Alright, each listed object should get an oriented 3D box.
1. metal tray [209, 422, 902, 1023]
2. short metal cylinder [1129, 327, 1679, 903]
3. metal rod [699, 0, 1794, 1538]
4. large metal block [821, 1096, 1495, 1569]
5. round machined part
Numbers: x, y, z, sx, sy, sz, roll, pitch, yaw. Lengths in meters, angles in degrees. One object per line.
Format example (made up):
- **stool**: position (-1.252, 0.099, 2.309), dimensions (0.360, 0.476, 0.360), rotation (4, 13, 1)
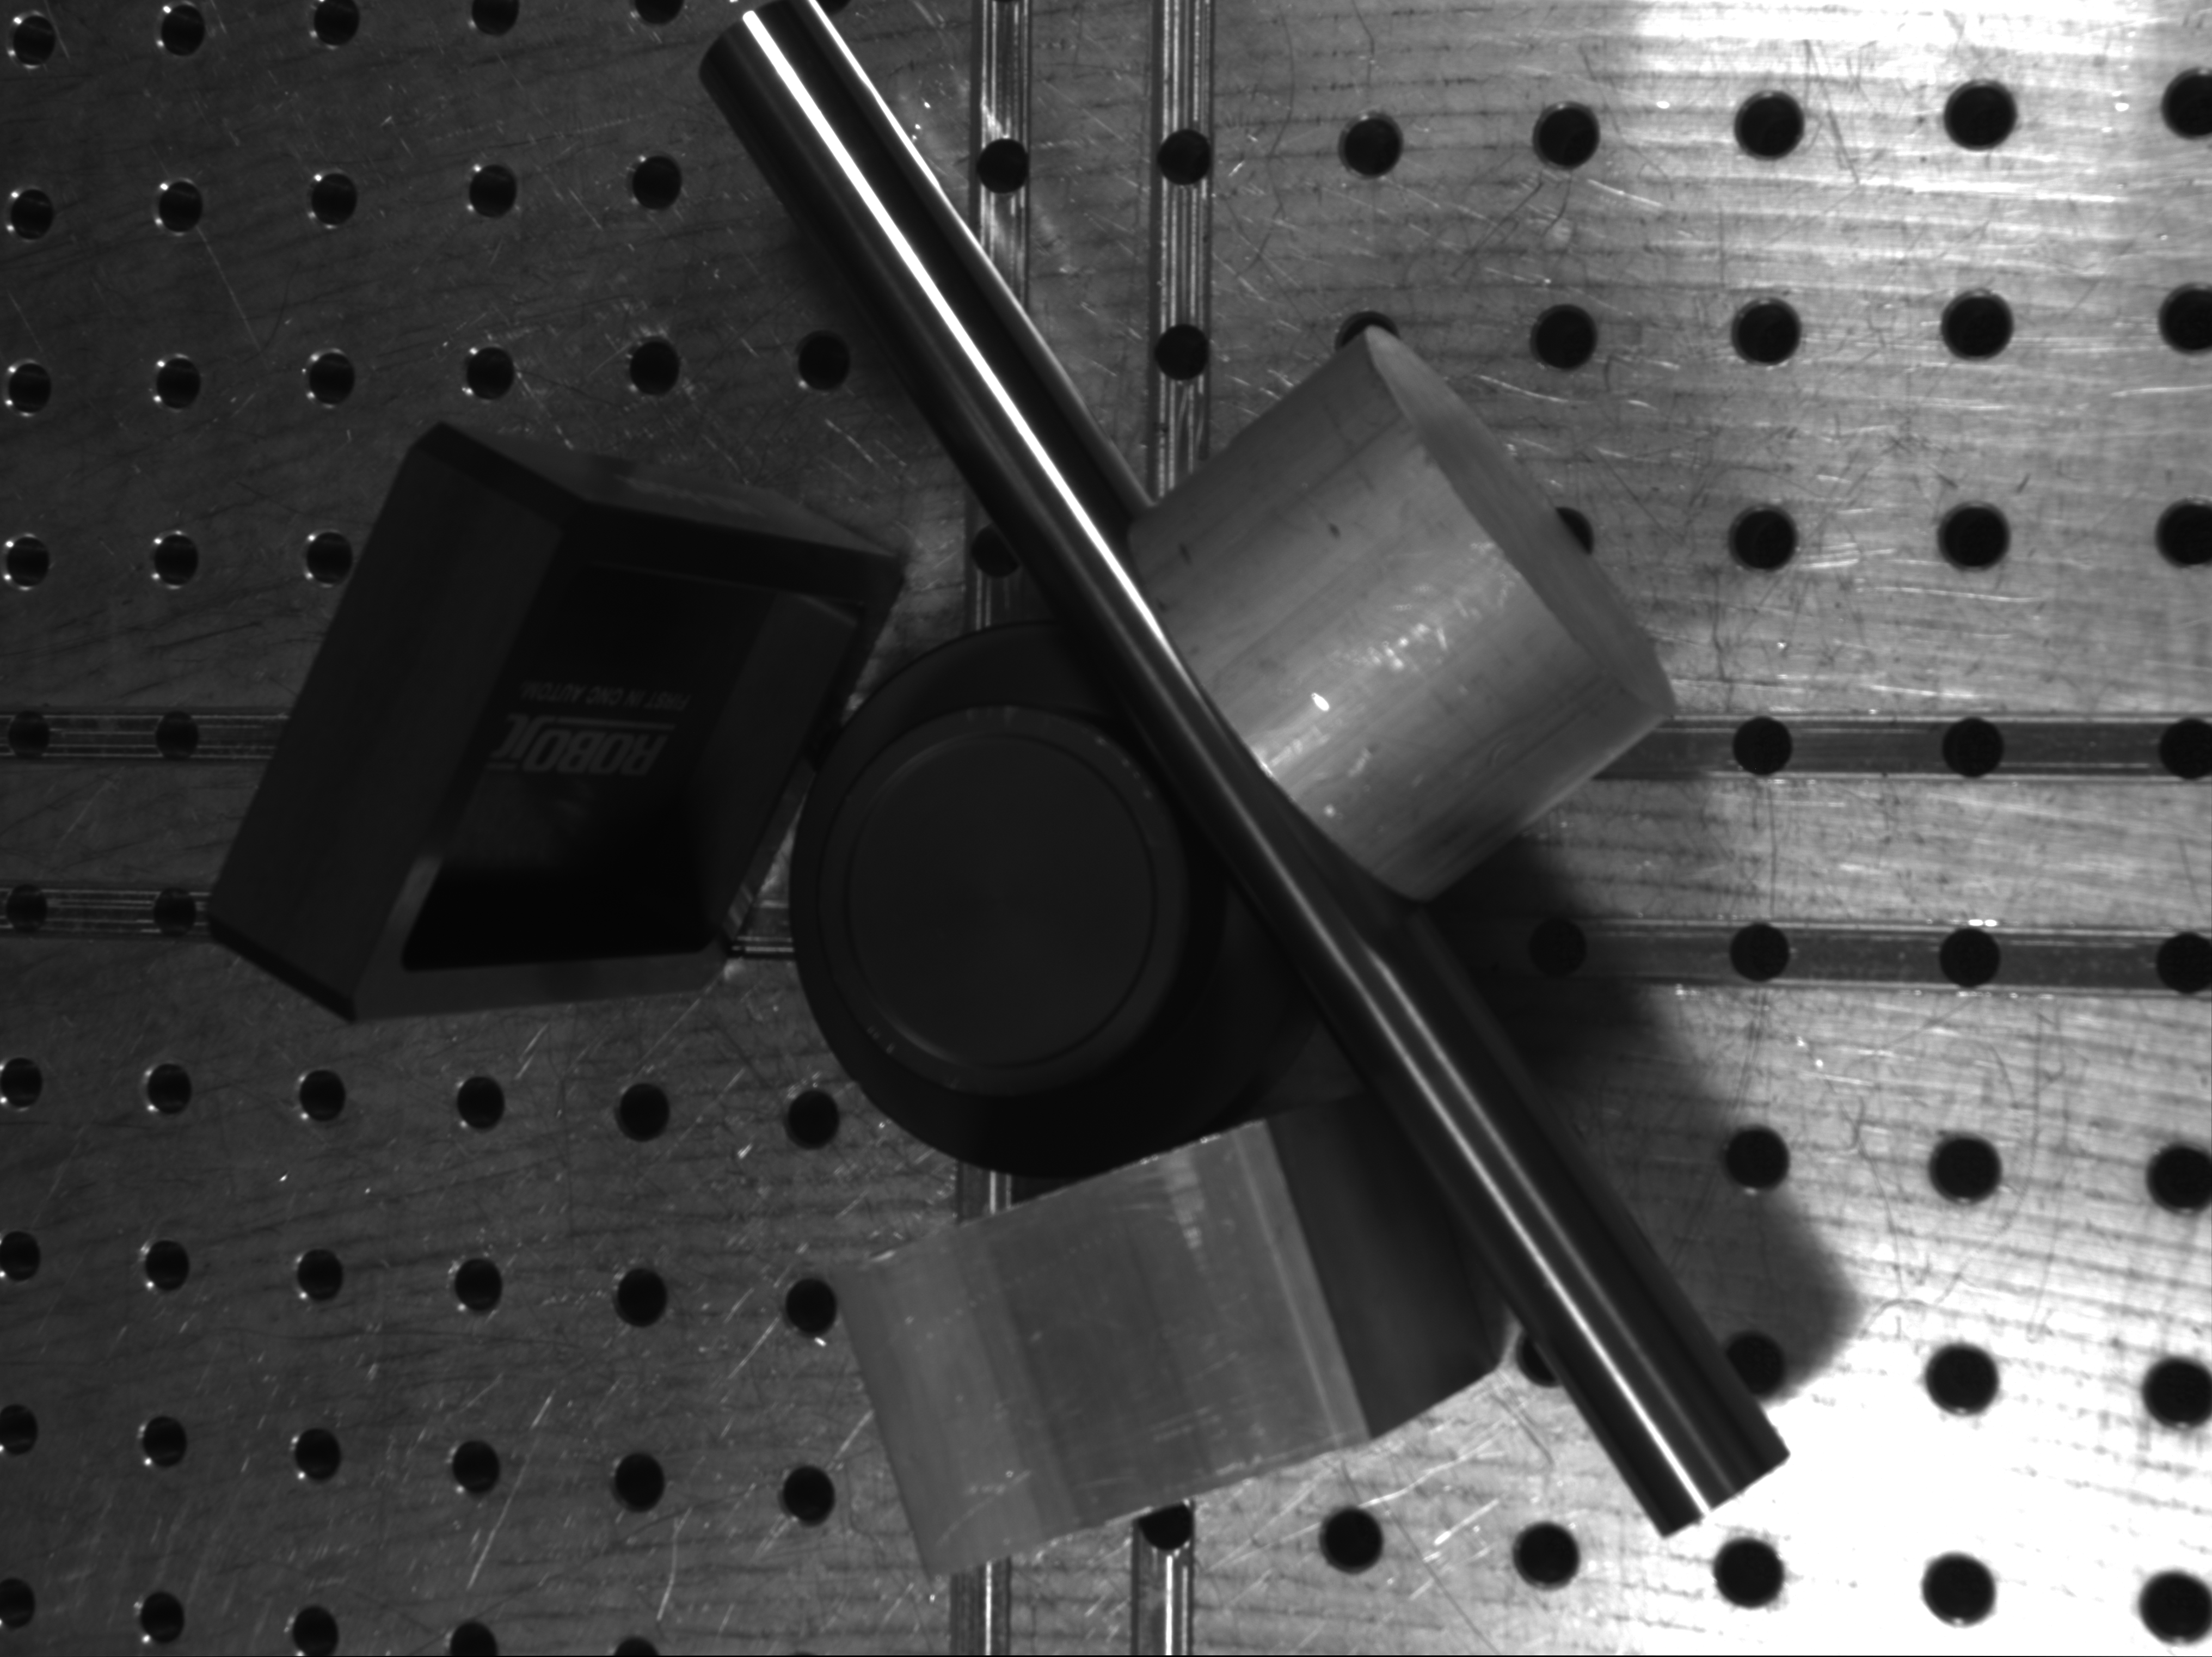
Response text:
- **metal tray**: position (-0.089, -0.016, 0.623), dimensions (0.030, 0.130, 0.090), rotation (29, 99, 18)
- **short metal cylinder**: position (0.049, -0.035, 0.599), dimensions (0.050, 0.080, 0.080), rotation (-39, 78, 16)
- **metal rod**: position (0.020, -0.016, 0.617), dimensions (0.025, 0.025, 0.300), rotation (-36, 78, 16)
- **large metal block**: position (0.011, 0.082, 0.614), dimensions (0.080, 0.080, 0.050), rotation (-20, 83, 19)
- **round machined part**: position (-0.012, 0.013, 0.642), dimensions (0.098, 0.042, 0.098), rotation (0, 90, 20)
